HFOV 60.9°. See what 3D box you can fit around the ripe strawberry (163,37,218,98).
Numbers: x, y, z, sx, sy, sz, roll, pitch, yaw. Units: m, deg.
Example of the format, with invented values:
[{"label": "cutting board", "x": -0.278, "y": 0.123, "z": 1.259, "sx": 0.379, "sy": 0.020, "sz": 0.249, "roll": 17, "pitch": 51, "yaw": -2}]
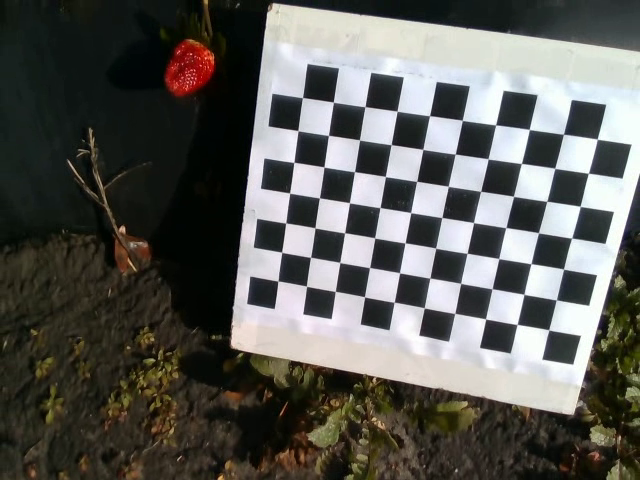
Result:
[{"label": "ripe strawberry", "x": -0.037, "y": -0.046, "z": 0.150, "sx": 0.015, "sy": 0.023, "sz": 0.015, "roll": 17, "pitch": -38, "yaw": 4}]
